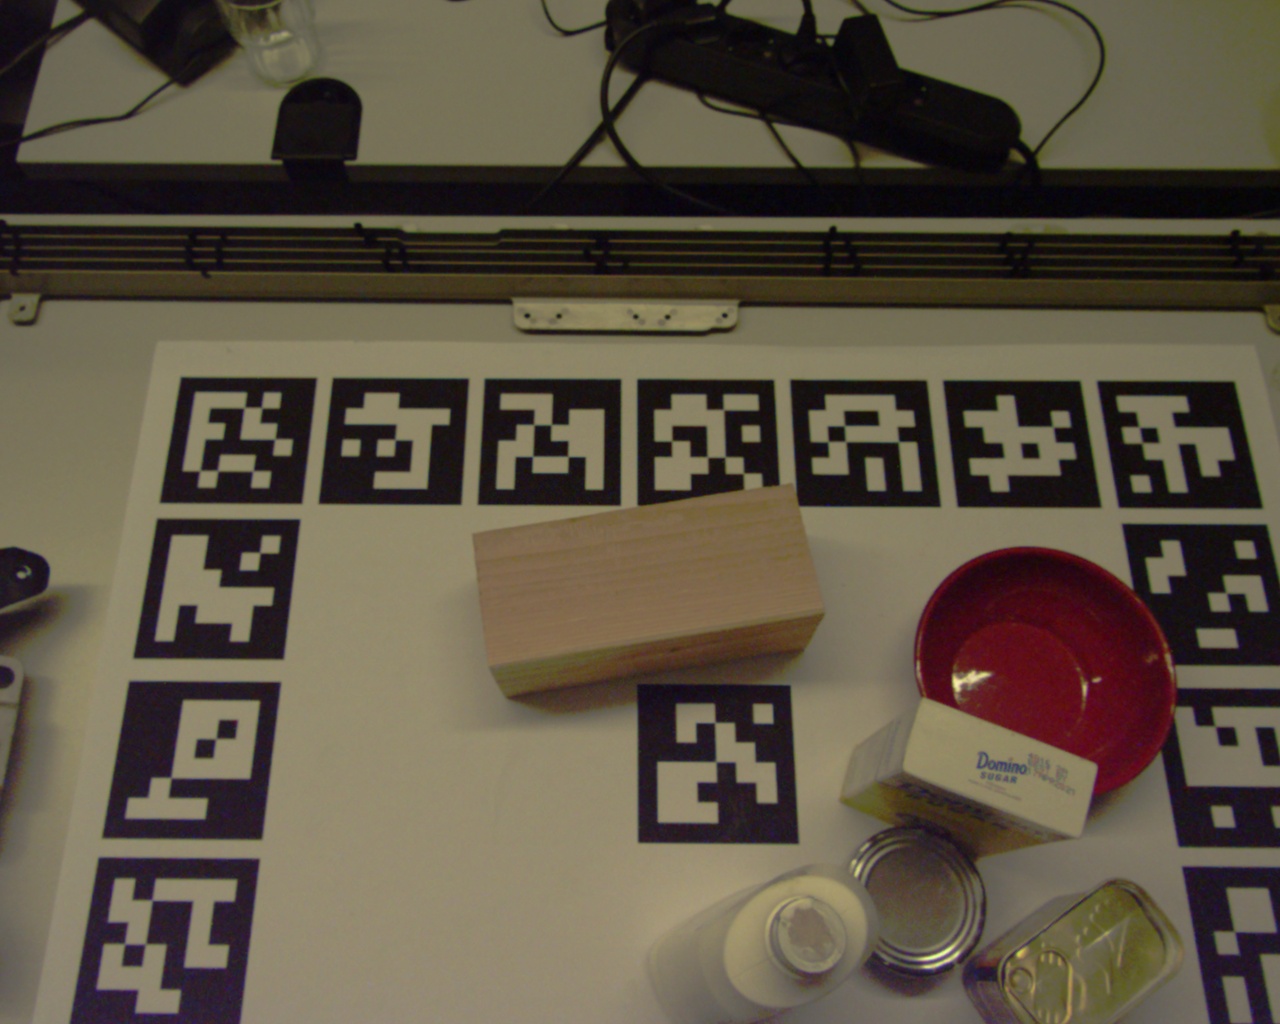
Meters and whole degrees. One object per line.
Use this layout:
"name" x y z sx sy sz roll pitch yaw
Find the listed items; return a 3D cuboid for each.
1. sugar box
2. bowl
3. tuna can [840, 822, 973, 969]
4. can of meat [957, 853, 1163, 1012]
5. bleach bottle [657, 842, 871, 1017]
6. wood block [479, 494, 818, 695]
"sugar box" 0.184 0.155 0.671 0.093 0.175 0.045 19 71 11
"bowl" 0.261 0.102 0.760 0.162 0.055 0.162 -2 67 4
"tuna can" 0.161 0.239 0.713 0.086 0.033 0.086 -1 71 1
"can of meat" 0.247 0.255 0.685 0.101 0.083 0.058 -29 67 -13
"bleach bottle" 0.063 0.222 0.608 0.102 0.250 0.068 -25 69 -10
"wood block" 0.002 0.057 0.767 0.206 0.090 0.091 -9 72 -4
